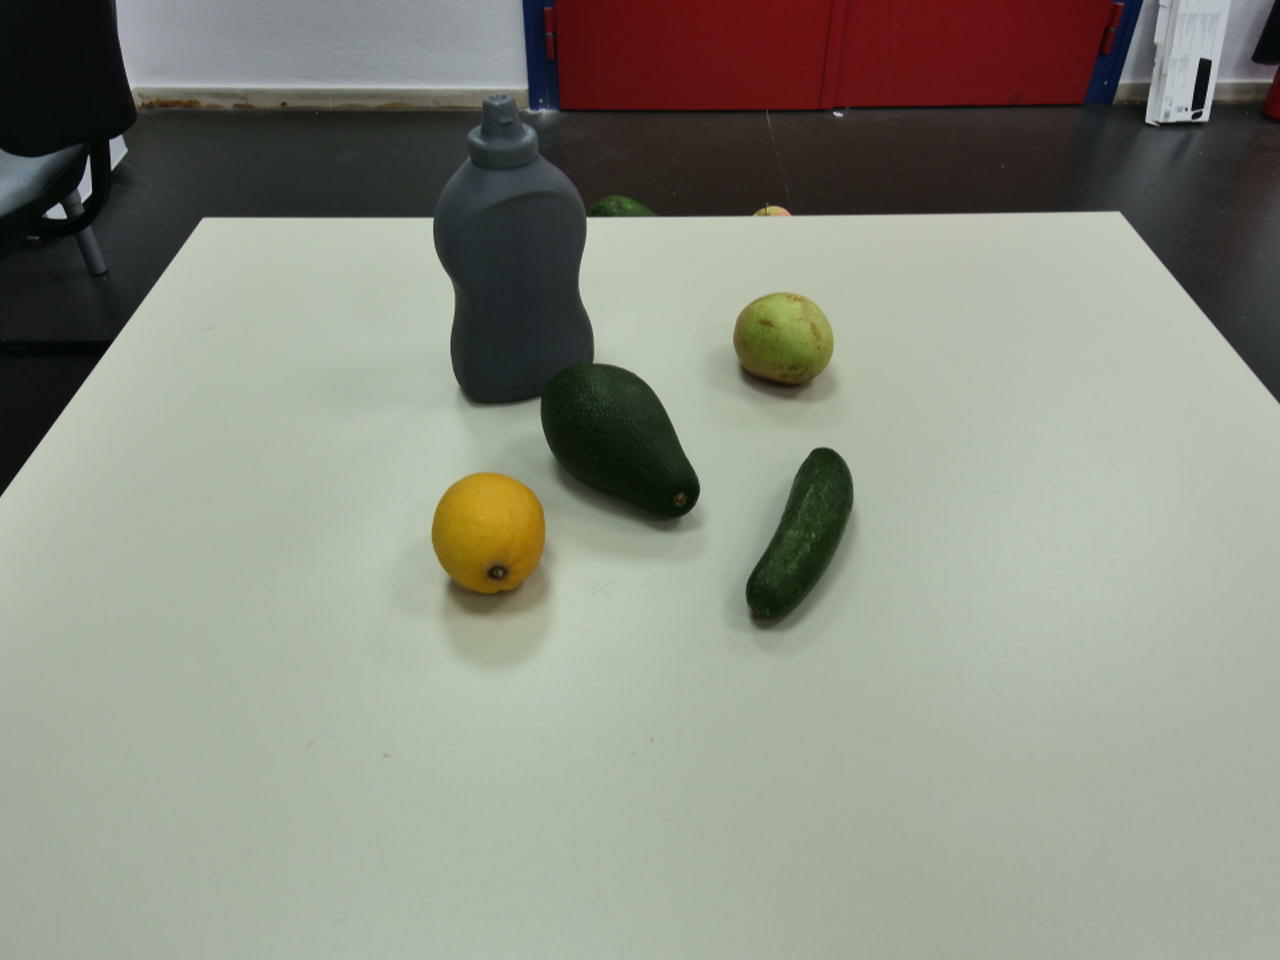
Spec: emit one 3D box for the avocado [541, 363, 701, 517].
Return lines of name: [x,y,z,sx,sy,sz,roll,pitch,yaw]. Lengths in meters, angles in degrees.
avocado: [-0.015,-0.024,0.583,0.072,0.071,0.109,-15,41,-17]
